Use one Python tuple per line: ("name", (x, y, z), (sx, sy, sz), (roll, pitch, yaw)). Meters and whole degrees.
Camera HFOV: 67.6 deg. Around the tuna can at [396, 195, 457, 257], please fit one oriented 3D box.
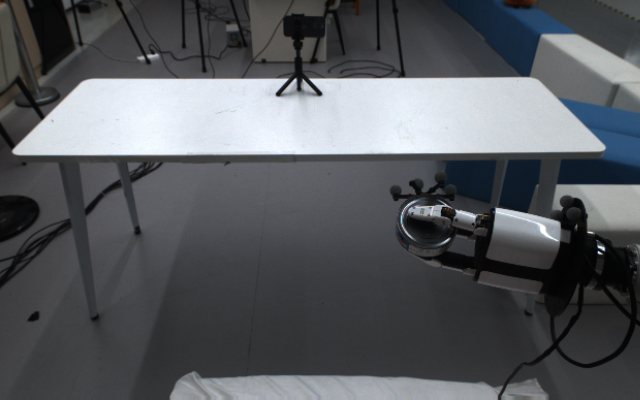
("tuna can", (0.150, 0.035, 0.682), (0.085, 0.034, 0.085), (-2, 58, 3))
